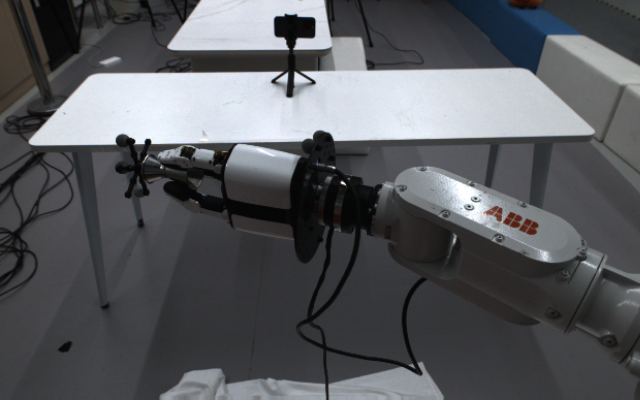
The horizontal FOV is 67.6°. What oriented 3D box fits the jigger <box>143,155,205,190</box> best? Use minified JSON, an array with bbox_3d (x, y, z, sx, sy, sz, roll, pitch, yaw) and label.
[{"bbox_3d":[-0.188,-0.041,0.641,0.071,0.043,0.043,6,35,13],"label":"jigger"}]
